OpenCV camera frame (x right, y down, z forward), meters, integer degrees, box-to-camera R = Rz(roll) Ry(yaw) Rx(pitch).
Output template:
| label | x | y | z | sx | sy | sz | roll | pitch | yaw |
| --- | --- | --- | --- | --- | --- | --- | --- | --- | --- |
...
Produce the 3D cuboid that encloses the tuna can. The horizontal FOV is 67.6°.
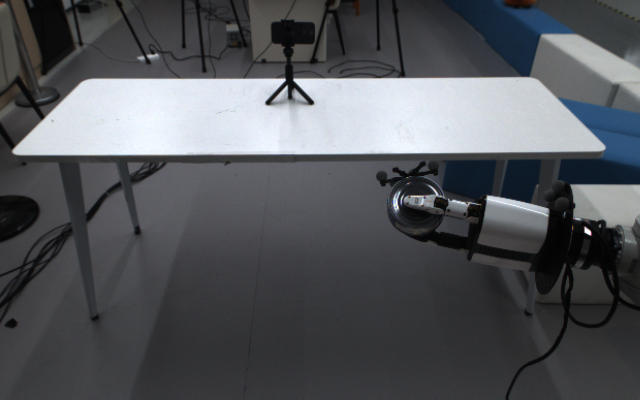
| label | x | y | z | sx | sy | sz | roll | pitch | yaw |
| --- | --- | --- | --- | --- | --- | --- | --- | --- | --- |
| tuna can | 0.145 | 0.005 | 0.717 | 0.085 | 0.034 | 0.085 | -4 | 68 | 9 |
